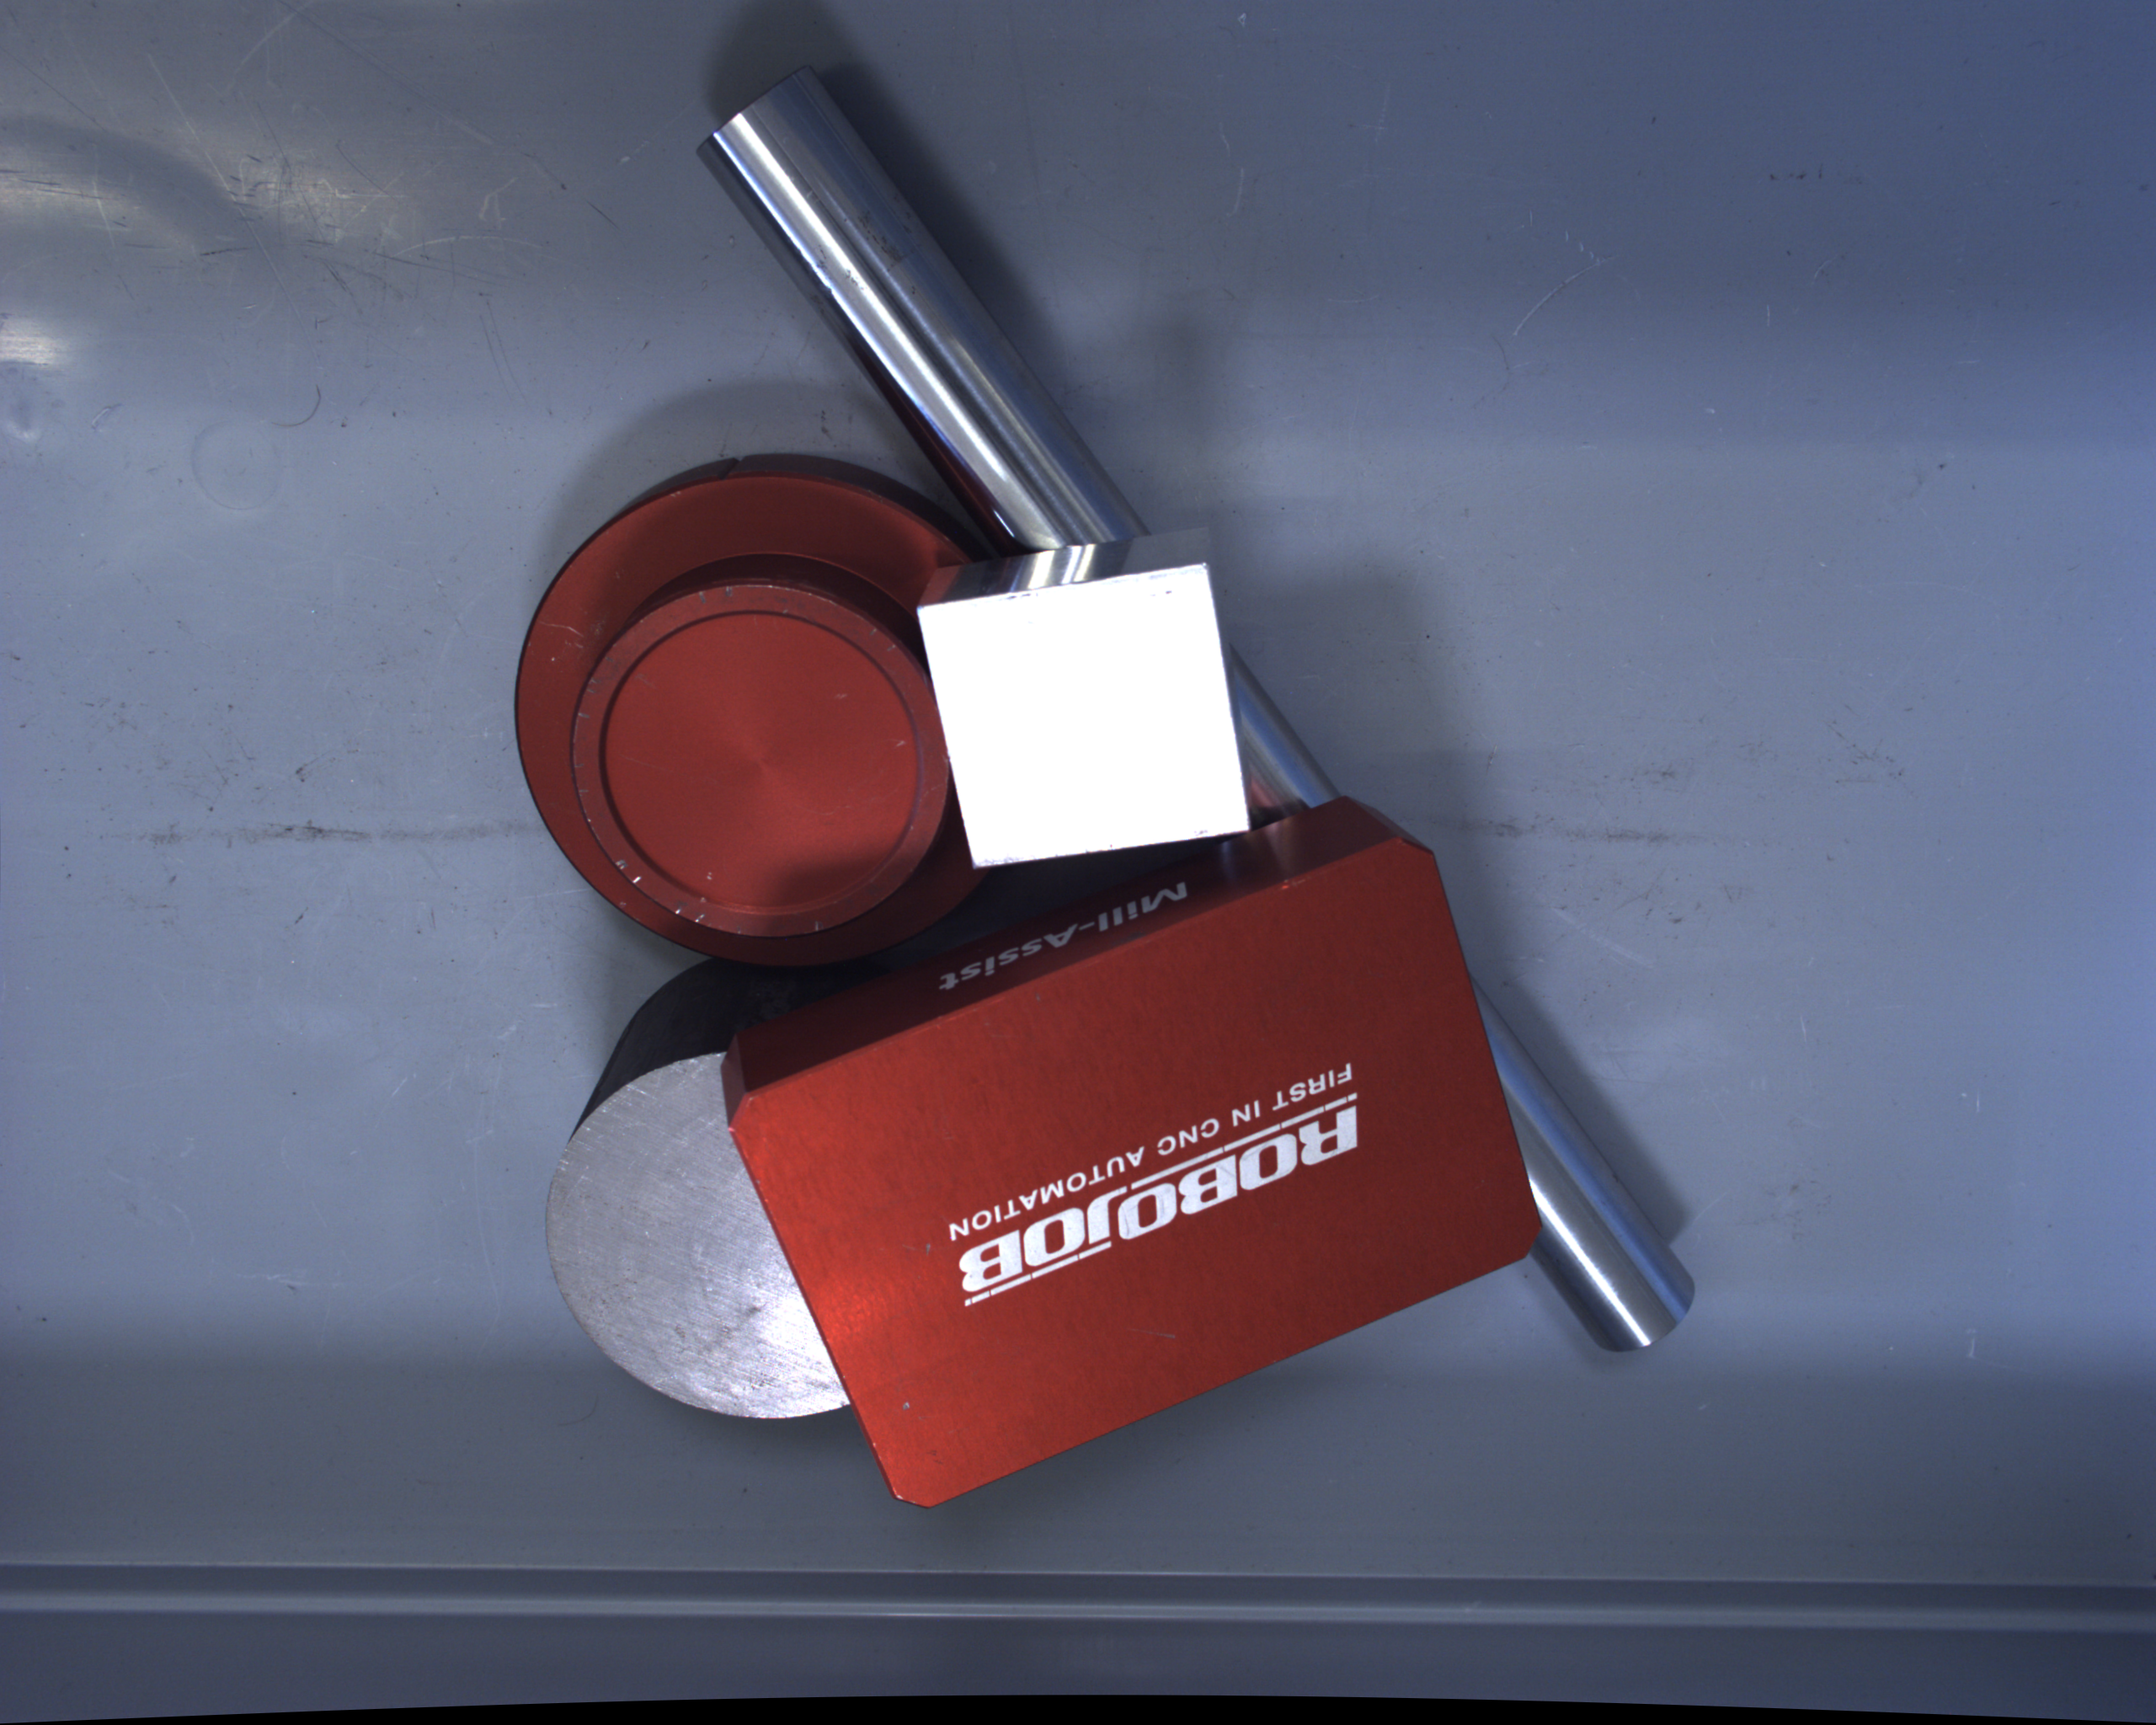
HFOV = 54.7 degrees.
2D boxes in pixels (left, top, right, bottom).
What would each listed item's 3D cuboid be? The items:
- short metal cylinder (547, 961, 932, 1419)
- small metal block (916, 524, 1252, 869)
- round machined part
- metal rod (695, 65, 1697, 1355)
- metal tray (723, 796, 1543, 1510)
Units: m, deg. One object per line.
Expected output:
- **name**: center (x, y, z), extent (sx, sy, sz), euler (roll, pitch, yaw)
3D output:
- **short metal cylinder**: center (-0.060, 0.063, 0.418), extent (0.081, 0.050, 0.079), euler (0, 110, 0)
- **small metal block**: center (0.003, -0.030, 0.373), extent (0.050, 0.025, 0.050), euler (-8, 113, 8)
- **round machined part**: center (-0.057, -0.024, 0.390), extent (0.099, 0.042, 0.097), euler (0, 110, 1)
- **metal rod**: center (0.032, -0.017, 0.403), extent (0.025, 0.025, 0.300), euler (-35, 107, 12)
- **metal tray**: center (0.011, 0.053, 0.385), extent (0.131, 0.030, 0.090), euler (-21, 110, -6)
